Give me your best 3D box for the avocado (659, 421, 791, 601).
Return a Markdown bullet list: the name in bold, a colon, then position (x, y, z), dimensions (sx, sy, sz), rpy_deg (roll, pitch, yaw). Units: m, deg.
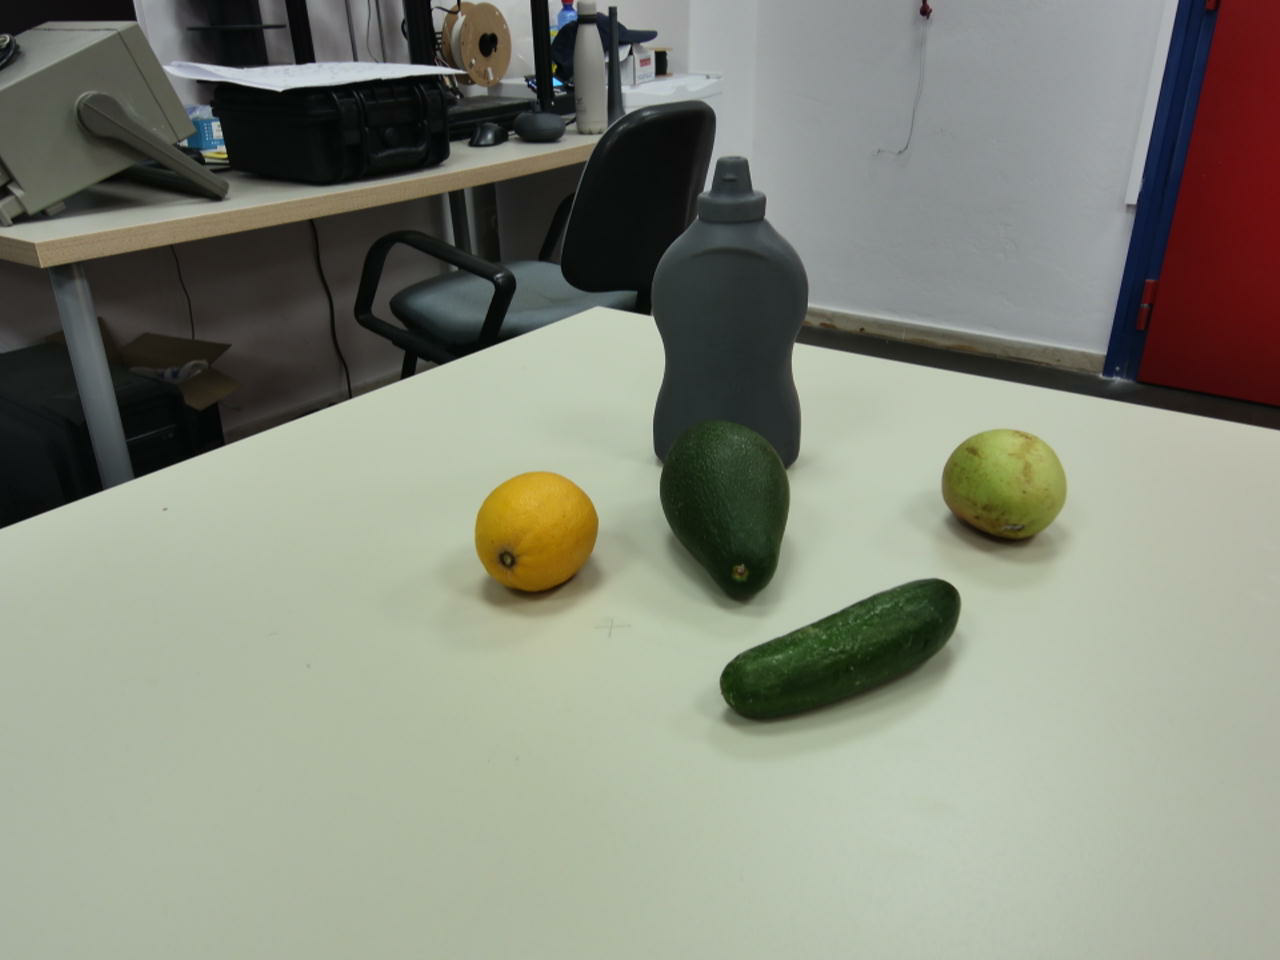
- **avocado**: position (0.043, 0.011, 0.532), dimensions (0.073, 0.071, 0.109), rpy_deg (6, 25, 13)
